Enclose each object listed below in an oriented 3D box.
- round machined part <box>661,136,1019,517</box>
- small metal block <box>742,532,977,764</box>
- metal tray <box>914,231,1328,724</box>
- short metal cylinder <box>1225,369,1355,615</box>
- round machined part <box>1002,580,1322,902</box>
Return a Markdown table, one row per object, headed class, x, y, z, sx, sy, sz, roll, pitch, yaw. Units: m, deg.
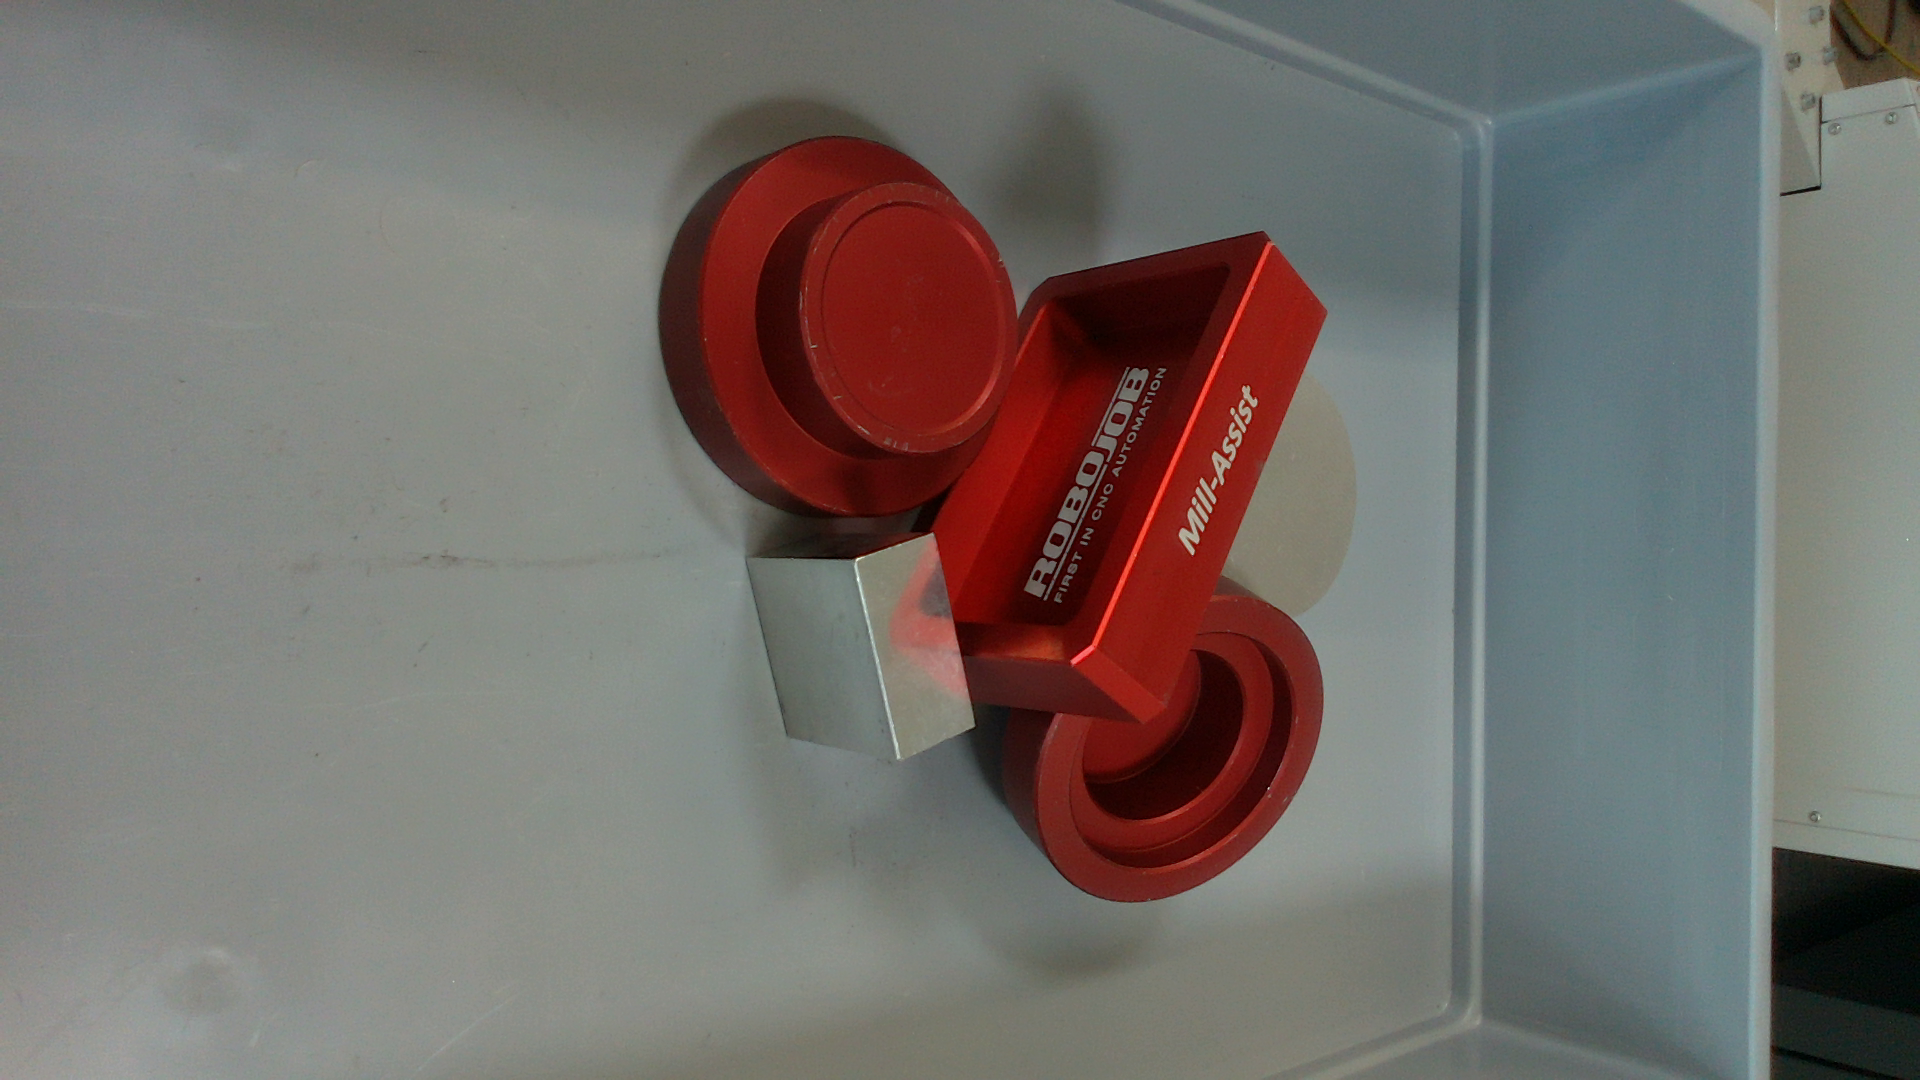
| class | x | y | z | sx | sy | sz | roll | pitch | yaw |
| --- | --- | --- | --- | --- | --- | --- | --- | --- | --- |
| round machined part | -0.023 | -0.055 | 0.356 | 0.098 | 0.042 | 0.098 | 0 | 90 | -40 |
| small metal block | -0.026 | 0.026 | 0.348 | 0.025 | 0.050 | 0.050 | -19 | 102 | -38 |
| metal tray | 0.036 | -0.018 | 0.374 | 0.030 | 0.090 | 0.130 | 40 | 66 | -33 |
| short metal cylinder | 0.081 | -0.015 | 0.438 | 0.080 | 0.050 | 0.080 | 0 | 90 | -40 |
| round machined part | 0.055 | 0.054 | 0.407 | 0.098 | 0.042 | 0.098 | -11 | 116 | -24 |
